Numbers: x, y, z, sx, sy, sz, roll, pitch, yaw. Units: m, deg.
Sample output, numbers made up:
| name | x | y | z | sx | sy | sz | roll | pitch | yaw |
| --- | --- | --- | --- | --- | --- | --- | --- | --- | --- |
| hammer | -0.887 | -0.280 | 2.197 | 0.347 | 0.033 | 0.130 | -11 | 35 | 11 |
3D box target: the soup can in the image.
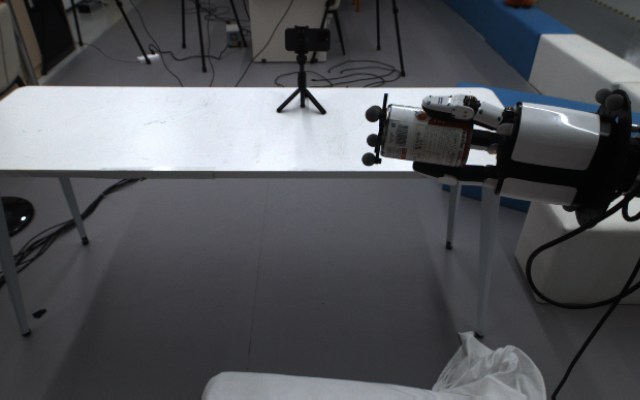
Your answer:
| name | x | y | z | sx | sy | sz | roll | pitch | yaw |
| --- | --- | --- | --- | --- | --- | --- | --- | --- | --- |
| soup can | 0.133 | -0.081 | 0.598 | 0.101 | 0.067 | 0.067 | 9 | 35 | 9 |
